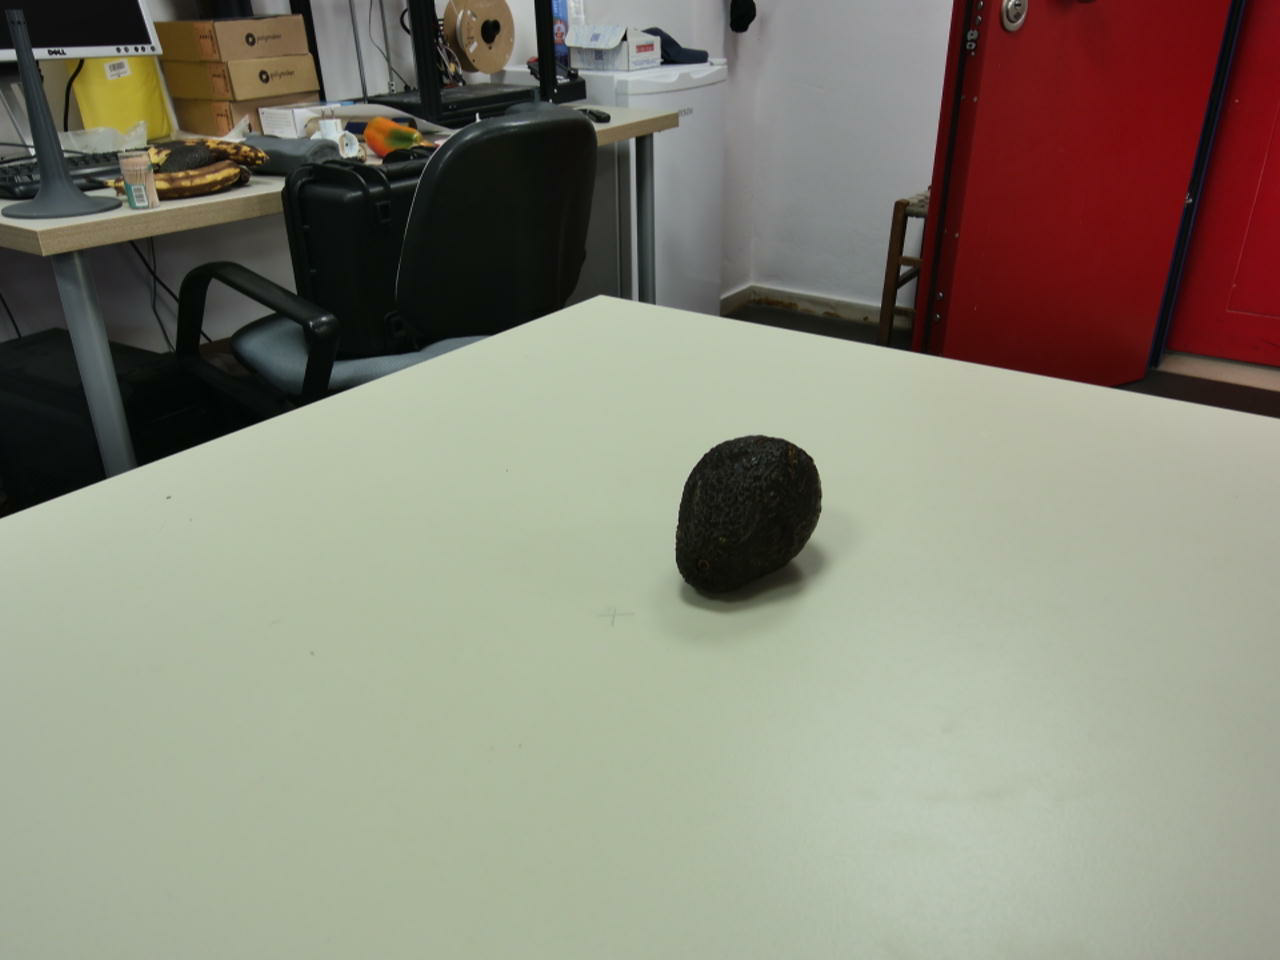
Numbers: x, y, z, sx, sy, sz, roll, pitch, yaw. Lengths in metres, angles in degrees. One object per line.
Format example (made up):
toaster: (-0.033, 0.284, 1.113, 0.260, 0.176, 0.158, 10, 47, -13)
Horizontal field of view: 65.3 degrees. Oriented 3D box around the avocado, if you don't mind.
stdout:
avocado: (0.053, 0.013, 0.517, 0.090, 0.069, 0.070, -11, 27, -25)
